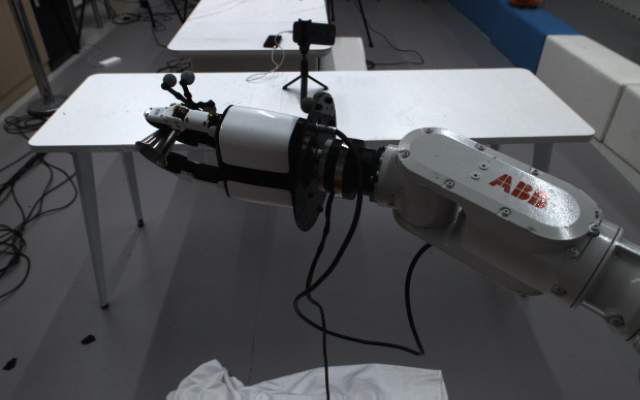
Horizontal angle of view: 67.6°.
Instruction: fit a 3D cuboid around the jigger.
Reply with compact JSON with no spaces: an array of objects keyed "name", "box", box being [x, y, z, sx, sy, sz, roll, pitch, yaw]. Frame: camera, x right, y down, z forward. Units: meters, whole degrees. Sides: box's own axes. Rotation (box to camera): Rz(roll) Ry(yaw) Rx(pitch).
[{"name":"jigger","box":[-0.187,-0.083,0.589,0.043,0.043,0.071,19,62,23]}]
